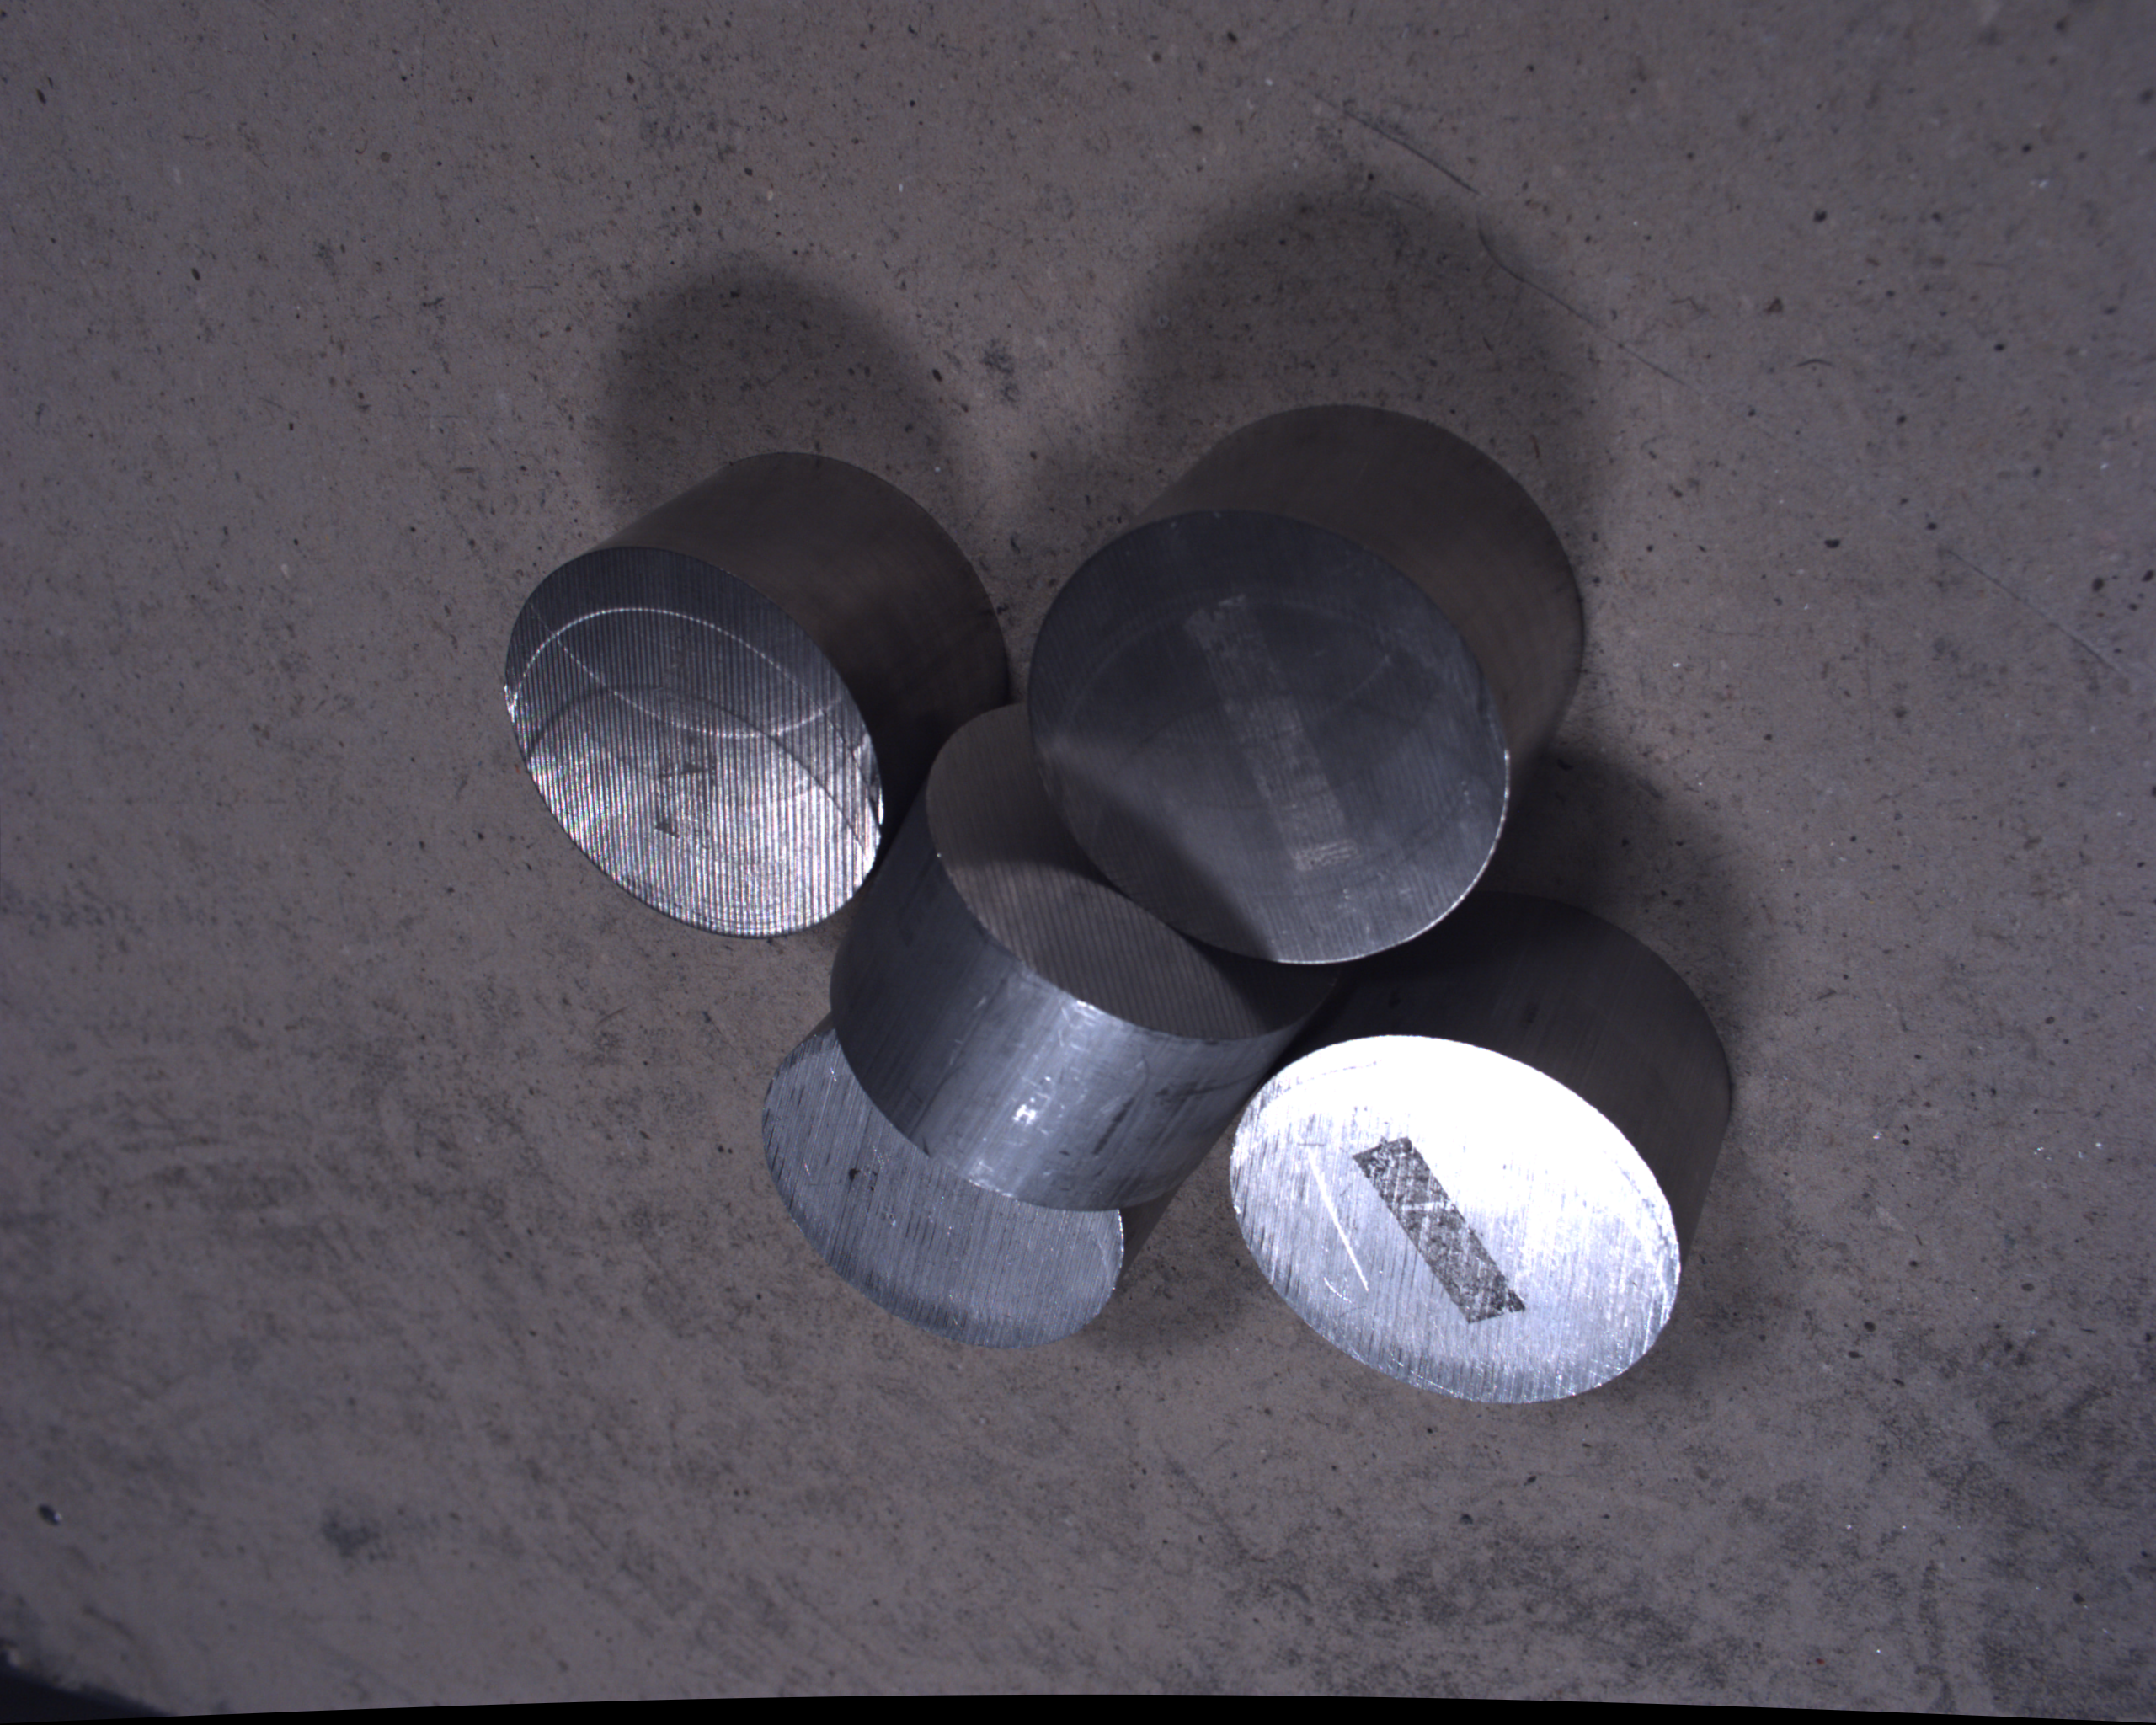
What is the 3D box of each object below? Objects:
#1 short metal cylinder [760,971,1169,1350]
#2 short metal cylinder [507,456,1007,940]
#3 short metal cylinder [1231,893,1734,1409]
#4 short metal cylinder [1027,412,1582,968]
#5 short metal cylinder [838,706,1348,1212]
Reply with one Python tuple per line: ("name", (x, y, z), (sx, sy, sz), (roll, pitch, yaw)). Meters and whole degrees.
("short metal cylinder", (-0.018, 0.053, 0.432), (0.080, 0.050, 0.079), (13, 124, 20))
("short metal cylinder", (-0.061, -0.032, 0.402), (0.080, 0.050, 0.079), (13, 124, 20))
("short metal cylinder", (0.075, 0.052, 0.383), (0.080, 0.050, 0.079), (13, 124, 20))
("short metal cylinder", (0.039, -0.029, 0.350), (0.080, 0.050, 0.079), (13, 124, 20))
("short metal cylinder", (0.003, 0.016, 0.380), (0.080, 0.080, 0.050), (34, 129, 5))
